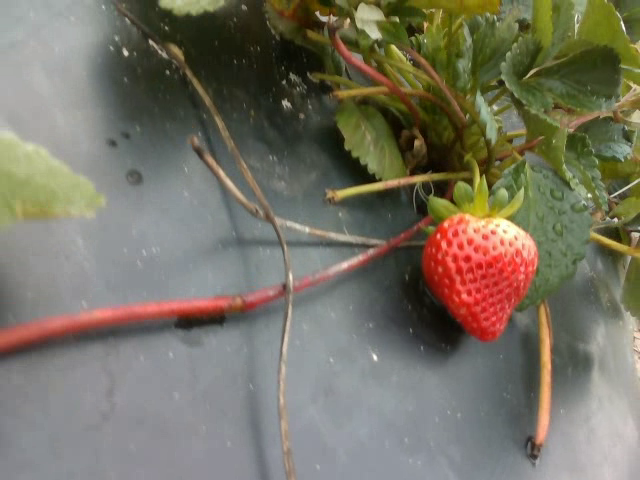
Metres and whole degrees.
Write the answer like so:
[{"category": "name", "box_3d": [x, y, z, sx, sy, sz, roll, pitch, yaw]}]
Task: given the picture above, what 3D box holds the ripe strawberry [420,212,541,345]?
[{"category": "ripe strawberry", "box_3d": [0.072, 0.016, 0.258, 0.050, 0.064, 0.062, 1, -2, 33]}]
